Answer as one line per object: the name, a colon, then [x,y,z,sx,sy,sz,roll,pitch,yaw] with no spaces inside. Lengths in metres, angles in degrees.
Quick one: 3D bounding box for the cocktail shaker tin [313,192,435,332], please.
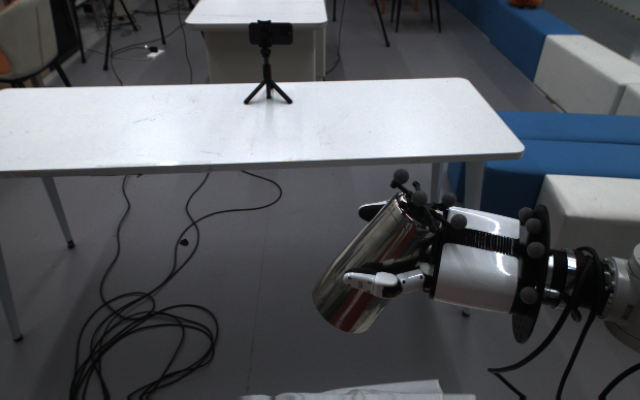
cocktail shaker tin: [0.071,0.069,0.590,0.093,0.170,0.093,26,32,-18]
